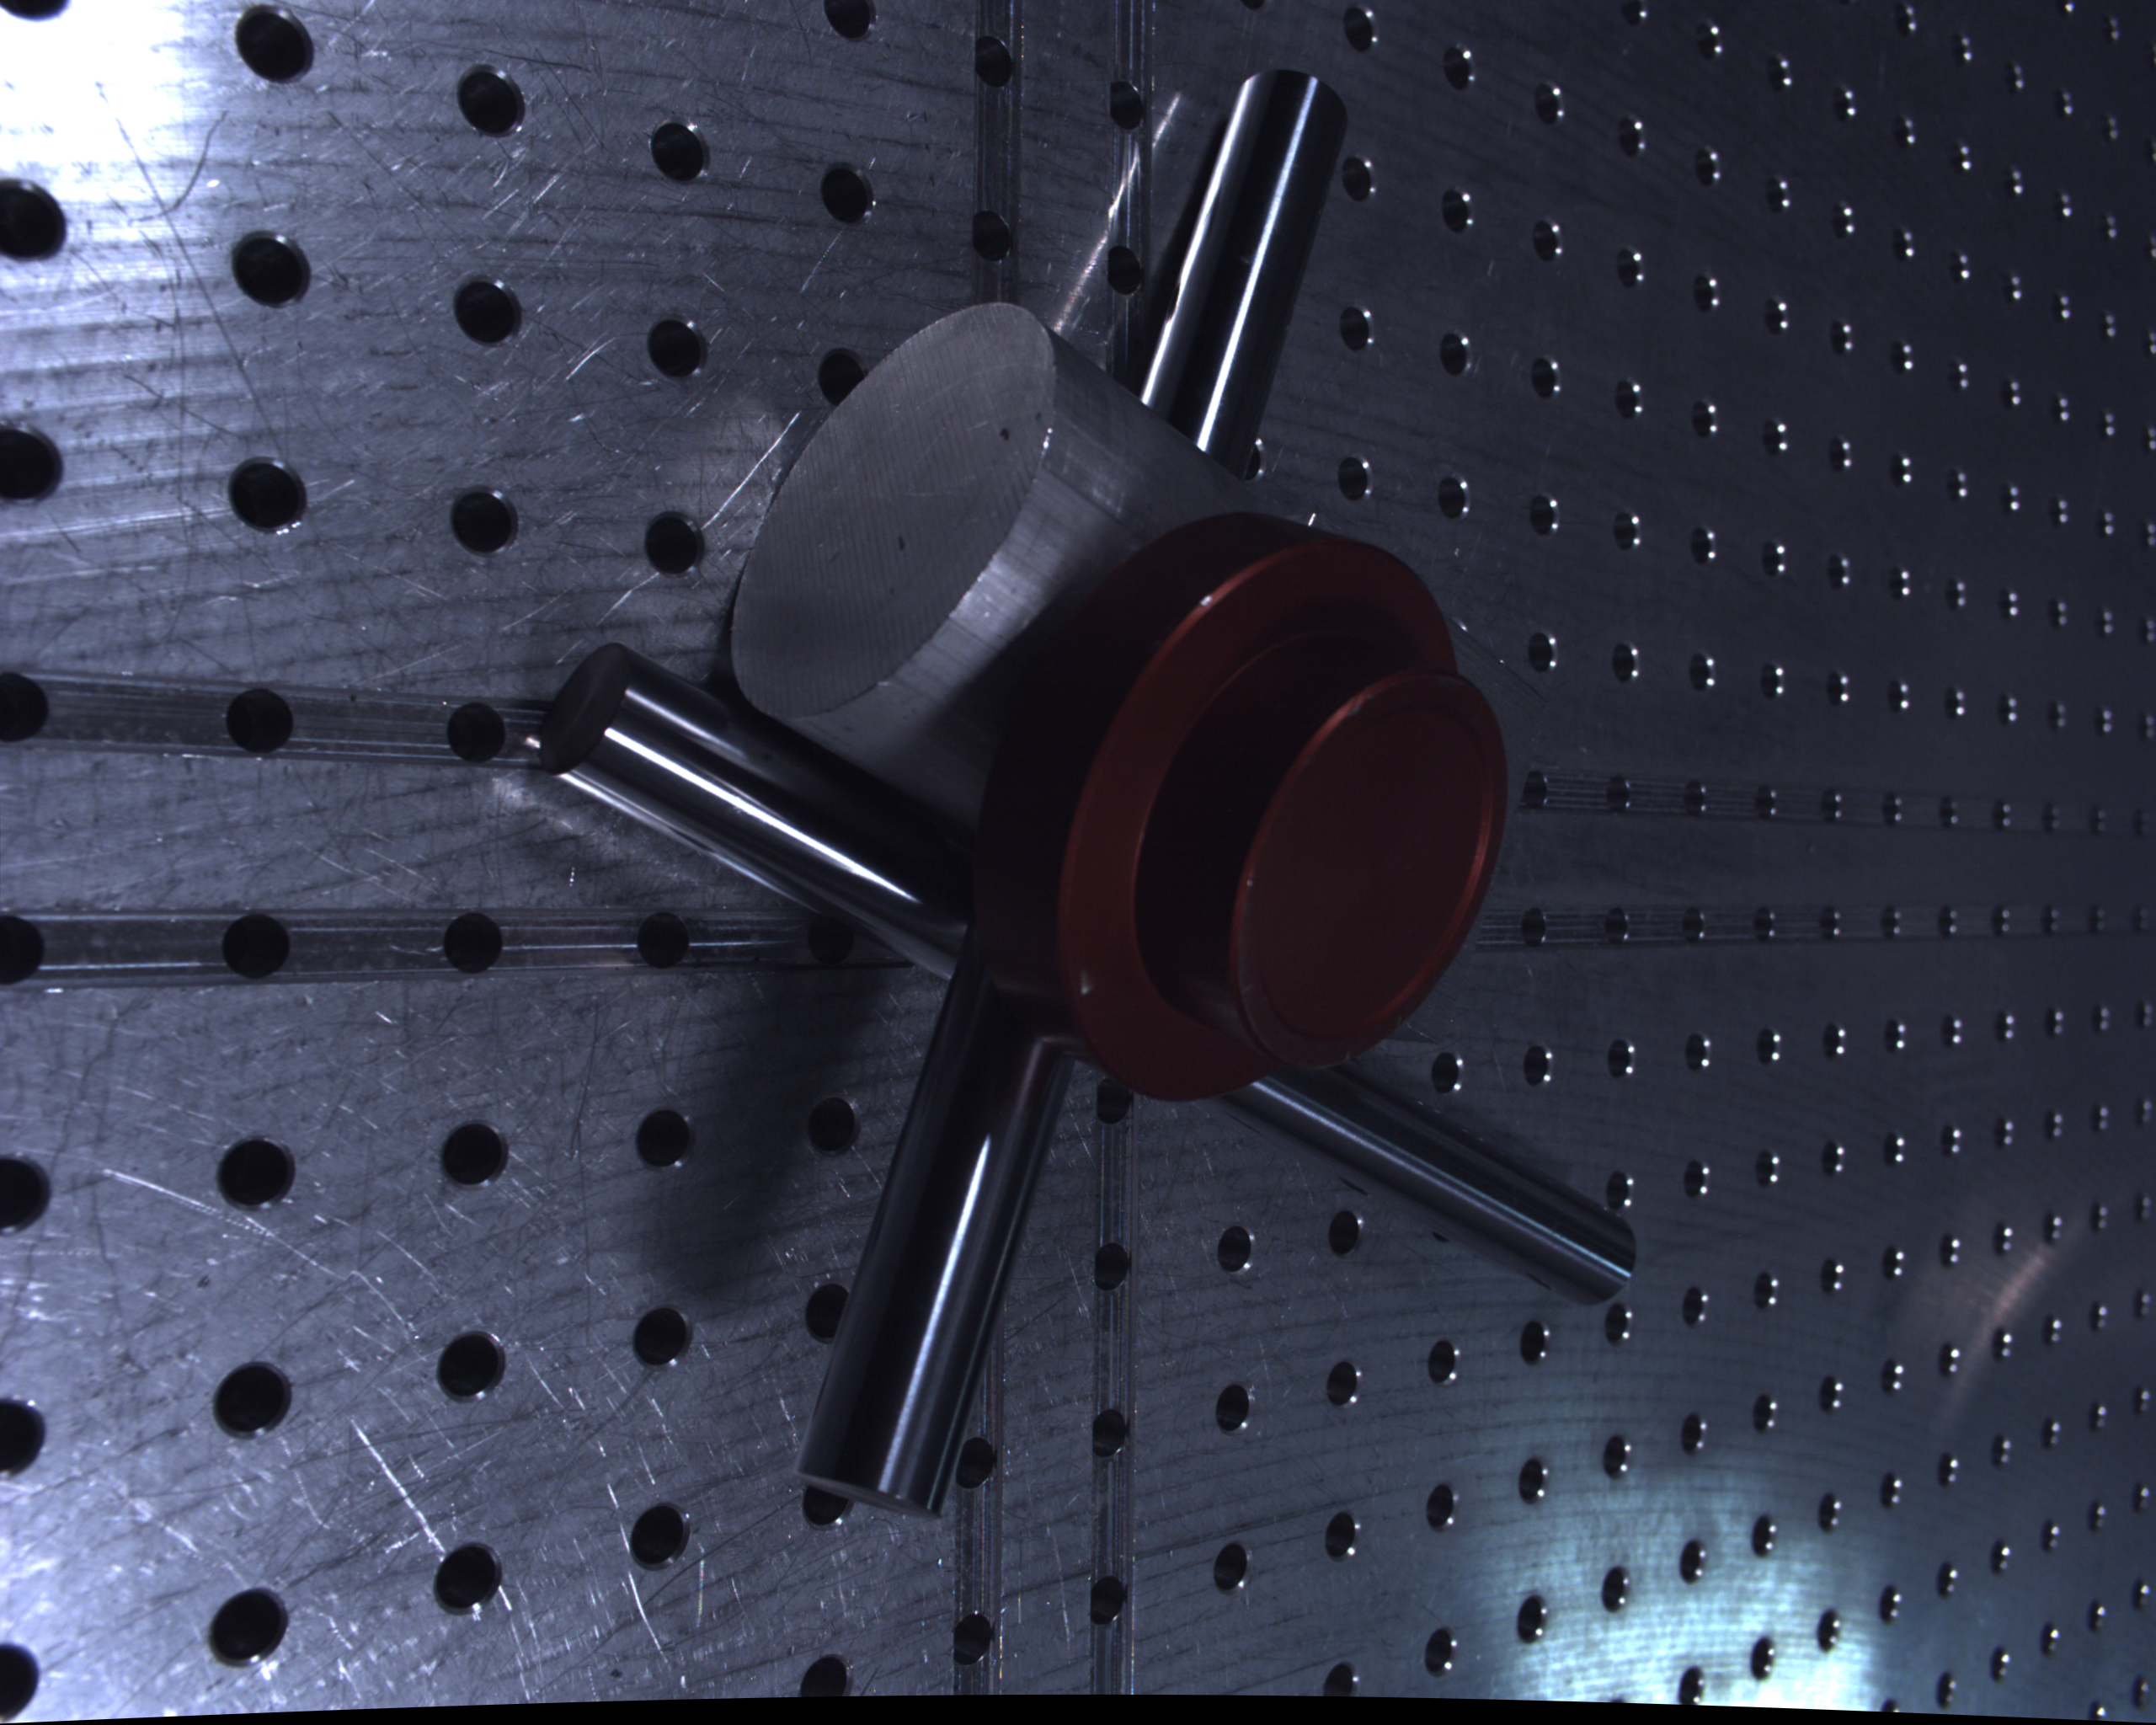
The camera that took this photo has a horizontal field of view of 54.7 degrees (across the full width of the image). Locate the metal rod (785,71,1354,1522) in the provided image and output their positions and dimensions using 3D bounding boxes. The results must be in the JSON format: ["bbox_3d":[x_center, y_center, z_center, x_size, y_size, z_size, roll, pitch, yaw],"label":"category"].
[{"bbox_3d":[0.006,-0.030,0.391,0.025,0.025,0.300,35,61,-35],"label":"metal rod"}]

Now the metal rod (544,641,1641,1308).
[{"bbox_3d":[0.025,0.037,0.431,0.301,0.025,0.025,31,71,-36],"label":"metal rod"}]

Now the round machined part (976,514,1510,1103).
[{"bbox_3d":[0.034,-0.005,0.343,0.099,0.042,0.097,-24,127,-37],"label":"round machined part"}]

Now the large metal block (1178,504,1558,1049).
[{"bbox_3d":[0.045,-0.015,0.428,0.080,0.050,0.080,32,70,-36],"label":"large metal block"}]

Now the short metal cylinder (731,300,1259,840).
[{"bbox_3d":[-0.015,-0.049,0.362,0.050,0.080,0.080,32,70,-36],"label":"short metal cylinder"}]
